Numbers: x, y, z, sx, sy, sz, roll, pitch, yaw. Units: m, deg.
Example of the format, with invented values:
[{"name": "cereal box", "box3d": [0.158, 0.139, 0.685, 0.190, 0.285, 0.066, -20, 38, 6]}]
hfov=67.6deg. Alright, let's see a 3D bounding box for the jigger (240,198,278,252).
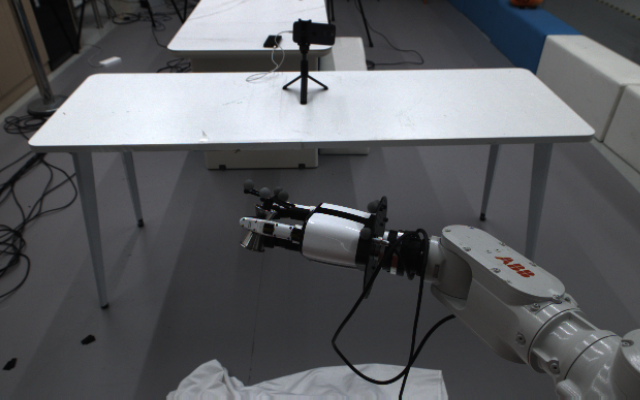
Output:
[{"name": "jigger", "box3d": [-0.099, 0.043, 0.775, 0.043, 0.071, 0.043, 21, 6, -2]}]
